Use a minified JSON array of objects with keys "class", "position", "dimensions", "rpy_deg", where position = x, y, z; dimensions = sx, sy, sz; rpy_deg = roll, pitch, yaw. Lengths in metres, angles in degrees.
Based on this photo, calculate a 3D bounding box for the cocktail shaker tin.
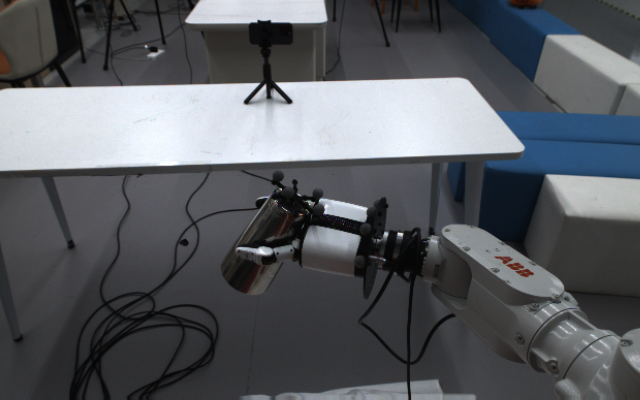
[{"class":"cocktail shaker tin","position":[-0.083,0.059,0.778],"dimensions":[0.093,0.170,0.093],"rpy_deg":[26,32,-17]}]
